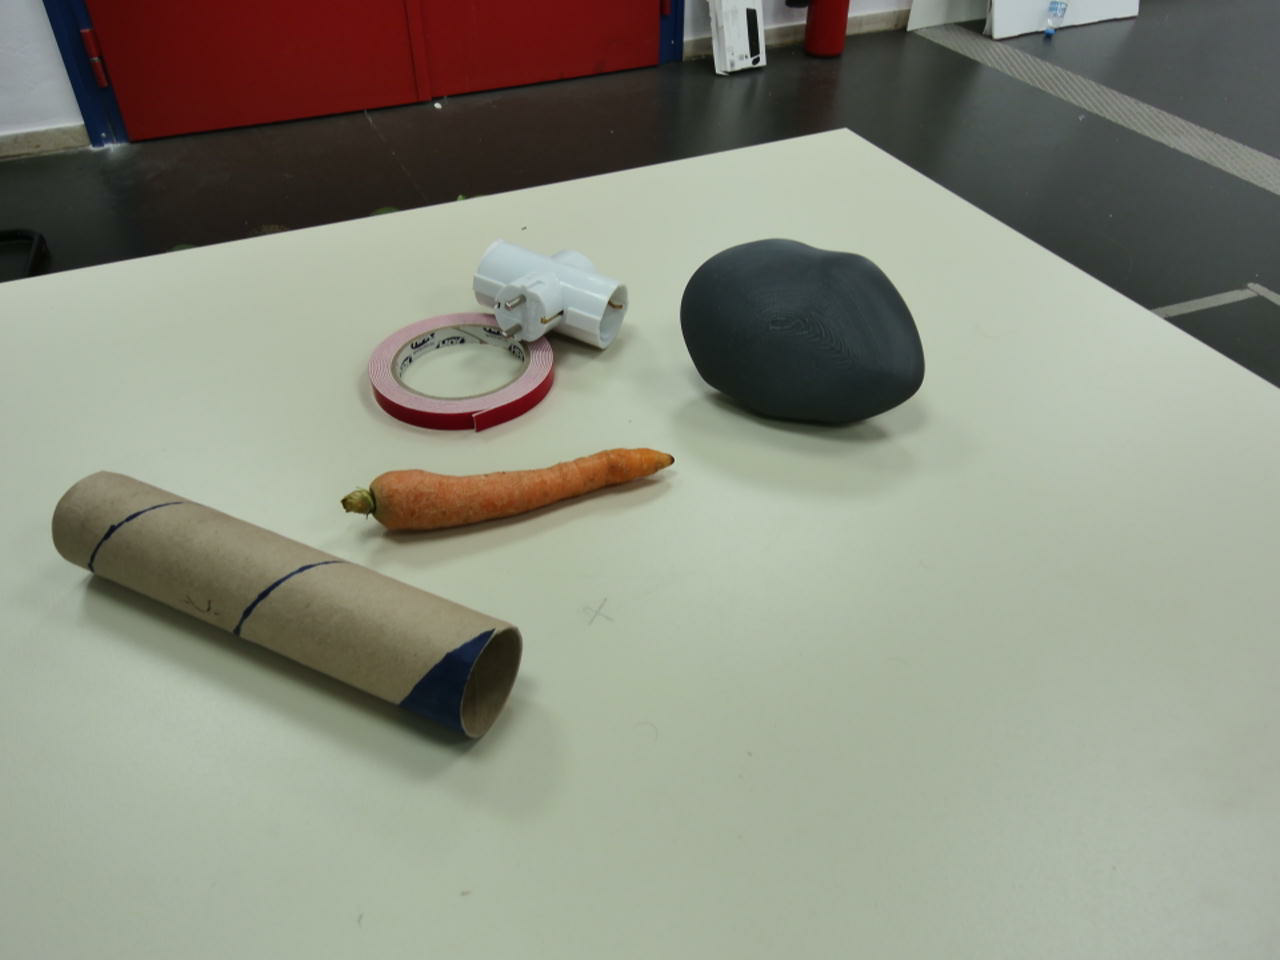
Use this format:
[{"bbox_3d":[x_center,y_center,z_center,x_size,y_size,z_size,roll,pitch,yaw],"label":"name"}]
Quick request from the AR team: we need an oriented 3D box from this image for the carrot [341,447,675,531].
[{"bbox_3d":[-0.062,0.001,0.508,0.173,0.032,0.030,-10,40,-13],"label":"carrot"}]
